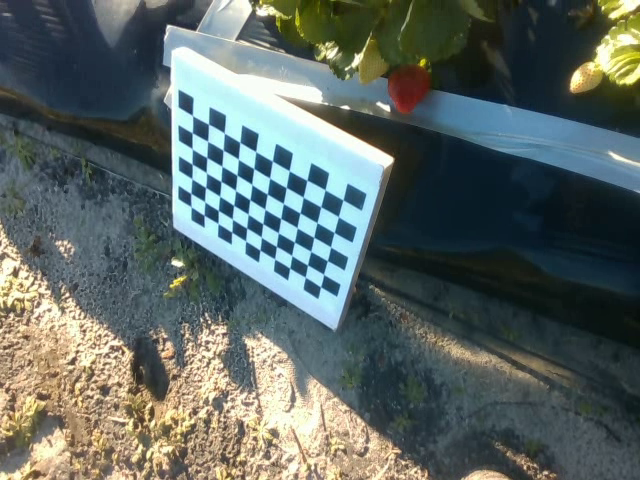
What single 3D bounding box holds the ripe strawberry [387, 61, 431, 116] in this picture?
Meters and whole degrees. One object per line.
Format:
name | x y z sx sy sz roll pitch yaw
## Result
ripe strawberry | 0.084 -0.147 0.621 0.048 0.064 0.045 24 -35 -16
